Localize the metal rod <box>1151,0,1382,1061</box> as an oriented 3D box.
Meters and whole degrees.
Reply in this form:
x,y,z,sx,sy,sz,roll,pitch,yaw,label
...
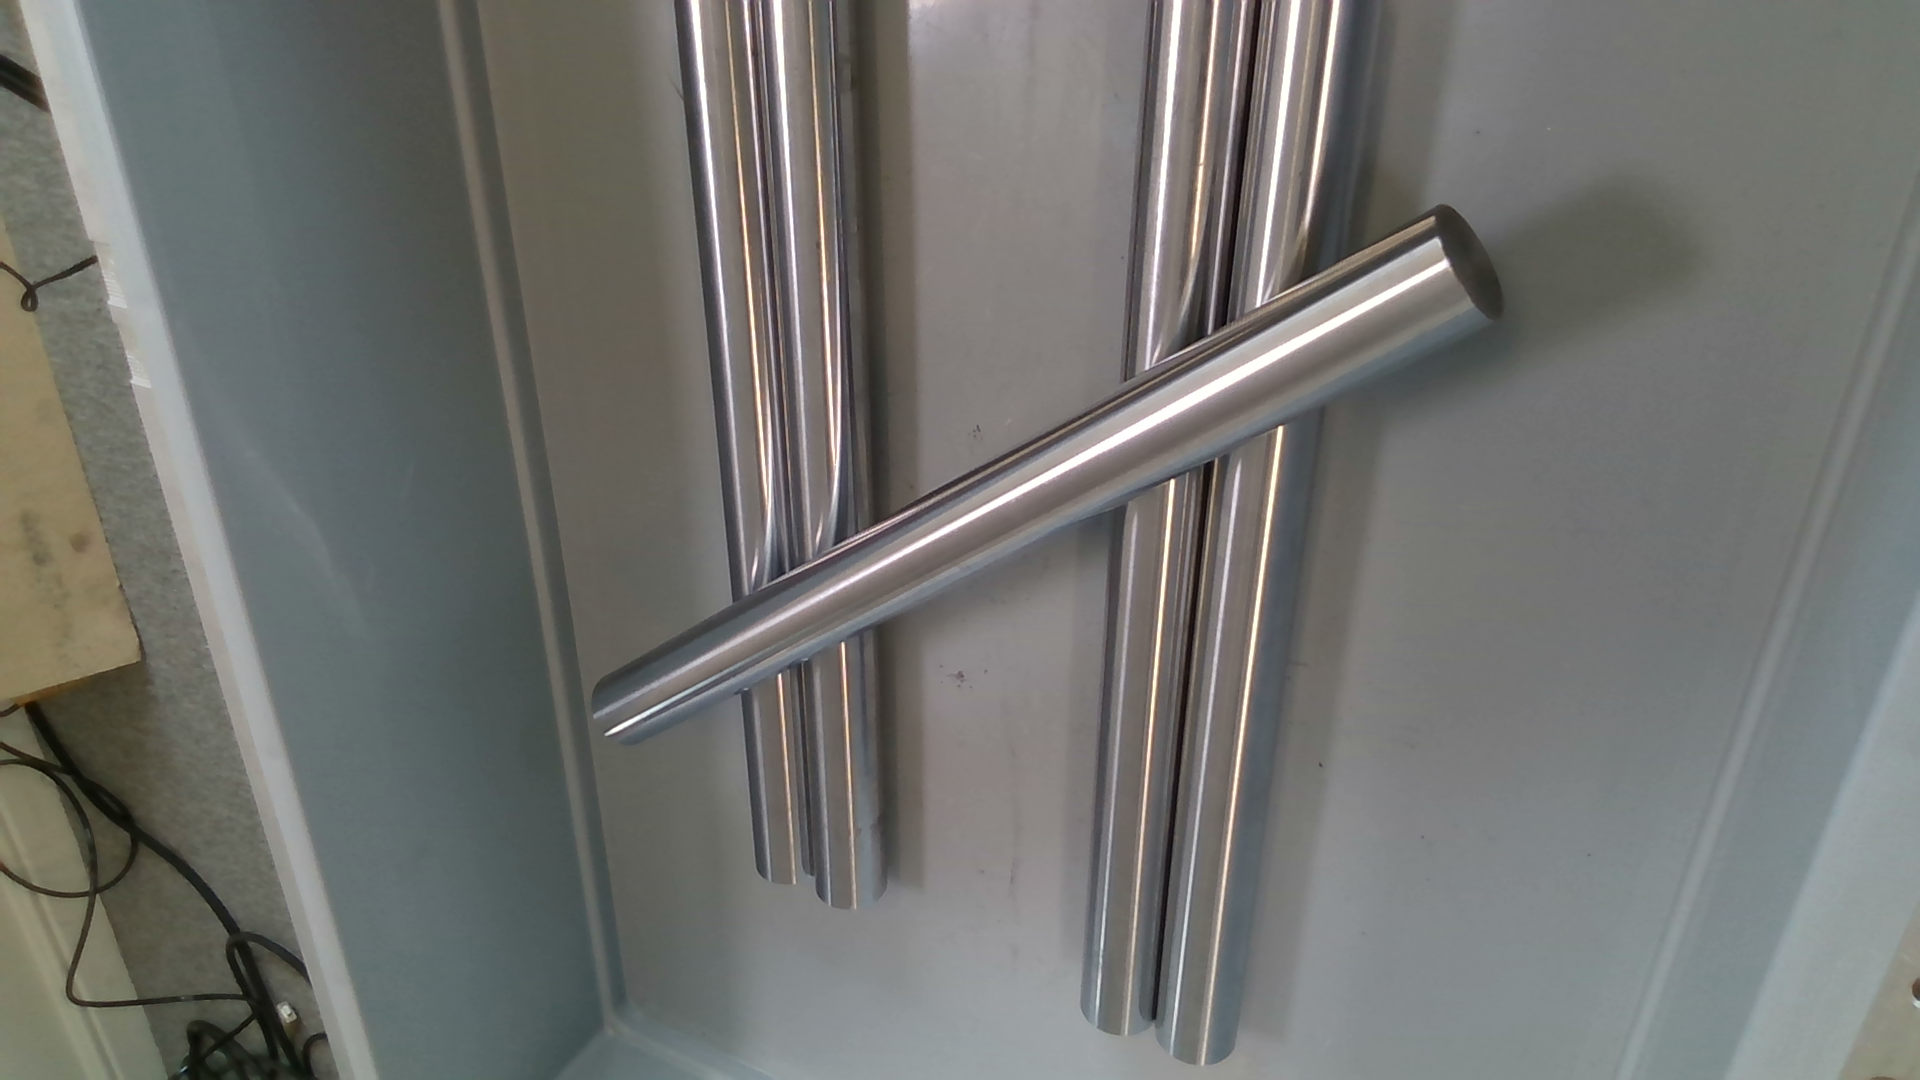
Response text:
x,y,z,sx,sy,sz,roll,pitch,yaw,label
0.072,0.020,0.353,0.025,0.025,0.301,15,122,24,metal rod

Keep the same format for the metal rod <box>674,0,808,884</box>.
x,y,z,sx,sy,sz,roll,pitch,yaw,label
-0.060,-0.019,0.413,0.025,0.025,0.301,14,122,25,metal rod

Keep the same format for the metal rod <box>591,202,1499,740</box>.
x,y,z,sx,sy,sz,roll,pitch,yaw,label
-0.006,0.000,0.360,0.300,0.025,0.025,-27,99,39,metal rod

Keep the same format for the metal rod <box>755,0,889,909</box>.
x,y,z,sx,sy,sz,roll,pitch,yaw,label
-0.037,-0.013,0.403,0.025,0.025,0.301,14,122,25,metal rod

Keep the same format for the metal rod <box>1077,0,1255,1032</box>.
x,y,z,sx,sy,sz,roll,pitch,yaw,label
0.050,0.015,0.364,0.025,0.025,0.301,15,122,24,metal rod
